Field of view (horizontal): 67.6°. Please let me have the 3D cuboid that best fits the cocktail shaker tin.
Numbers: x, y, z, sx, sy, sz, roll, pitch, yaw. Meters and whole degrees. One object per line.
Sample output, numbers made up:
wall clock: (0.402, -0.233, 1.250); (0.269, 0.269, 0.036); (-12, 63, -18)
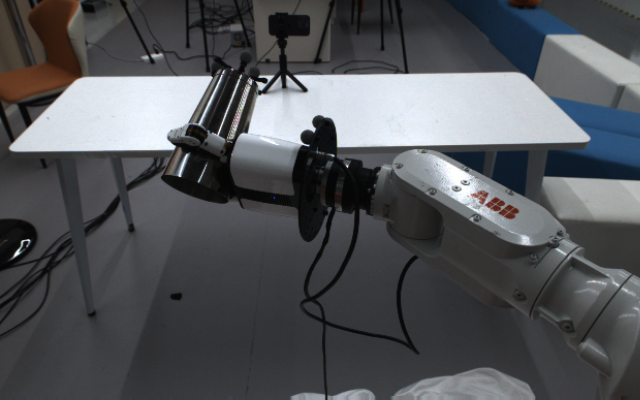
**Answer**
cocktail shaker tin: (-0.145, -0.091, 0.662); (0.093, 0.093, 0.170); (13, 73, 16)
